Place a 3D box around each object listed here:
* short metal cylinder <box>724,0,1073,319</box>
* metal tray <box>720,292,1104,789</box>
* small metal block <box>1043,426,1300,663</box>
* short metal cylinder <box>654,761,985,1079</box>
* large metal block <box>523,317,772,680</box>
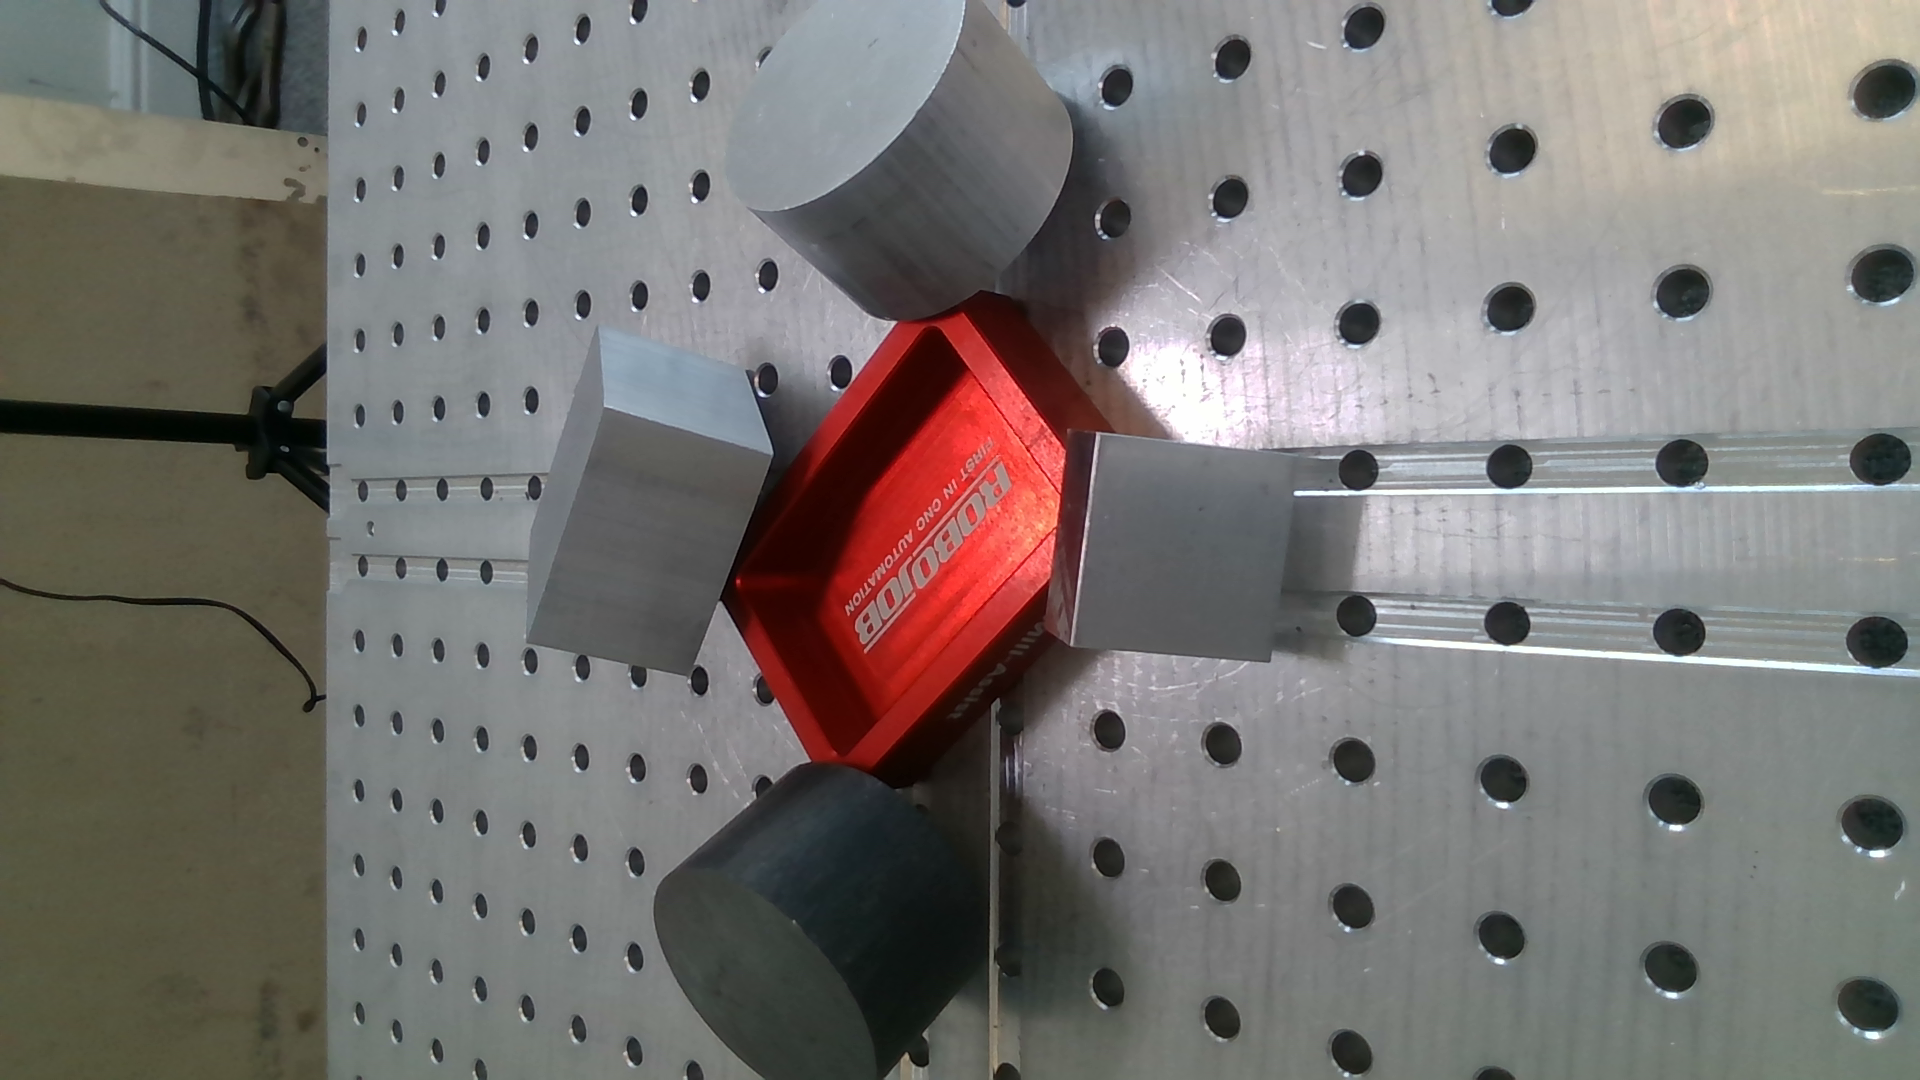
[{"bbox_3d":[-0.017,-0.107,0.371,0.080,0.050,0.080,-21,52,30],"label":"short metal cylinder"},{"bbox_3d":[-0.012,0.002,0.400,0.130,0.030,0.090,-49,61,29],"label":"metal tray"},{"bbox_3d":[0.050,0.001,0.332,0.025,0.050,0.050,-148,64,-76],"label":"small metal block"},{"bbox_3d":[-0.040,0.111,0.392,0.080,0.050,0.080,21,129,29],"label":"short metal cylinder"},{"bbox_3d":[-0.102,-0.015,0.441,0.080,0.050,0.080,-66,24,20],"label":"large metal block"}]
